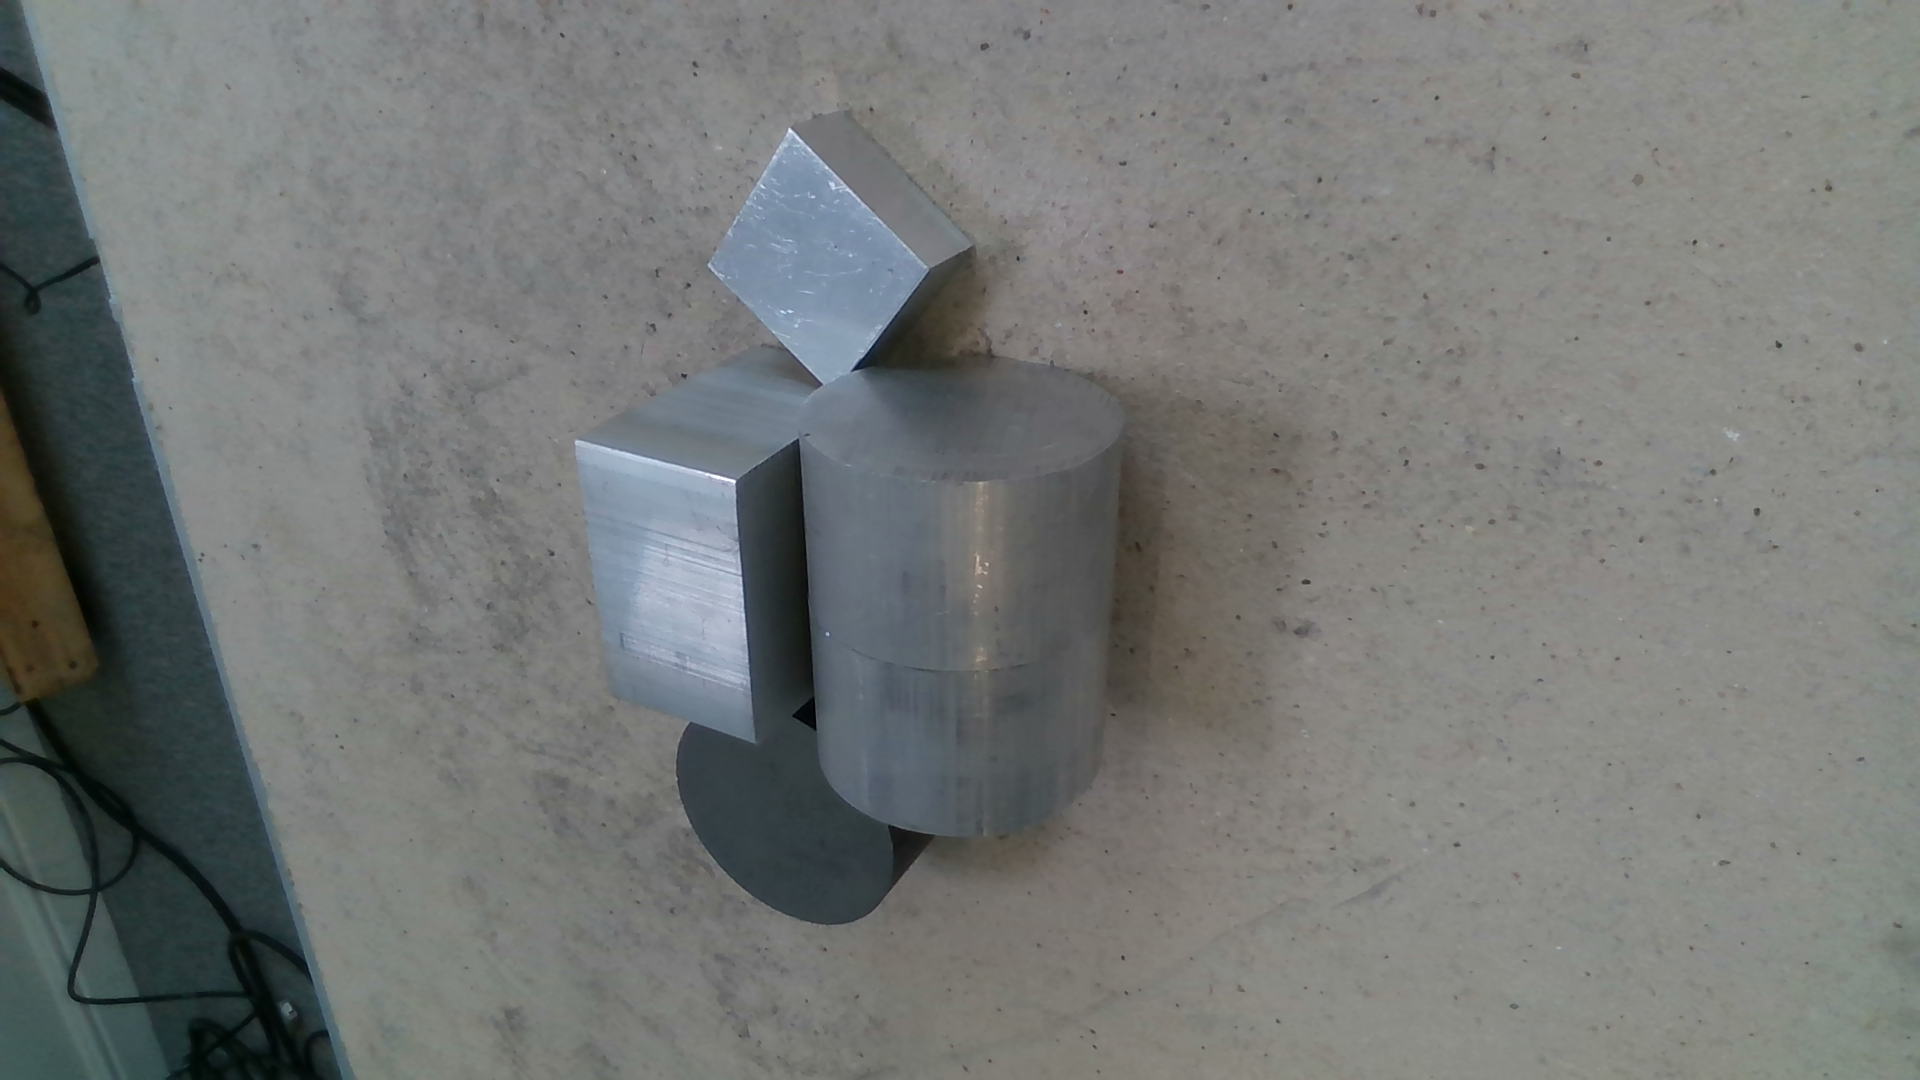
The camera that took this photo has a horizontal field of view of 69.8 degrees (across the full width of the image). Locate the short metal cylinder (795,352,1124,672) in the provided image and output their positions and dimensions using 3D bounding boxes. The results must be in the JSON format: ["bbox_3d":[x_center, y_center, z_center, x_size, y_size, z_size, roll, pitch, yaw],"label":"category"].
[{"bbox_3d":[0.000,-0.010,0.349,0.080,0.080,0.050,15,122,24],"label":"short metal cylinder"}]

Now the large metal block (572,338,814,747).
[{"bbox_3d":[-0.057,-0.002,0.389,0.050,0.080,0.080,15,122,24],"label":"large metal block"}]

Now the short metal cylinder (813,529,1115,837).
[{"bbox_3d":[0.000,0.034,0.373,0.080,0.080,0.050,15,122,24],"label":"short metal cylinder"}]

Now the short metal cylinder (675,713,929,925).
[{"bbox_3d":[-0.043,0.074,0.440,0.080,0.050,0.080,15,122,25],"label":"short metal cylinder"}]

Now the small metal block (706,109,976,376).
[{"bbox_3d":[-0.033,-0.076,0.368,0.050,0.025,0.050,46,129,2],"label":"small metal block"}]
